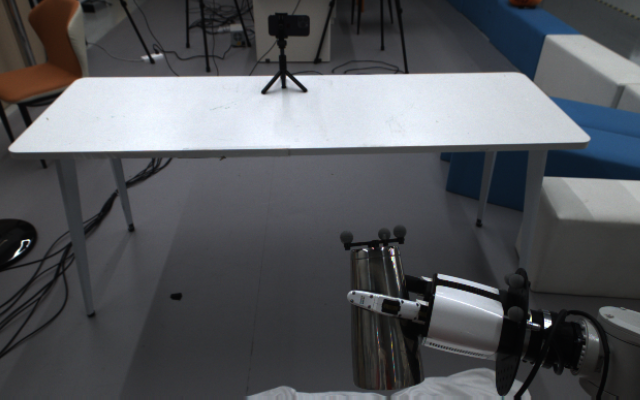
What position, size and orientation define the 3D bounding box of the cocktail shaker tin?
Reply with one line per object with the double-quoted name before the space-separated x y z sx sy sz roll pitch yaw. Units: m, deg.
"cocktail shaker tin" 0.082 0.149 0.636 0.093 0.170 0.093 -6 -7 -1
